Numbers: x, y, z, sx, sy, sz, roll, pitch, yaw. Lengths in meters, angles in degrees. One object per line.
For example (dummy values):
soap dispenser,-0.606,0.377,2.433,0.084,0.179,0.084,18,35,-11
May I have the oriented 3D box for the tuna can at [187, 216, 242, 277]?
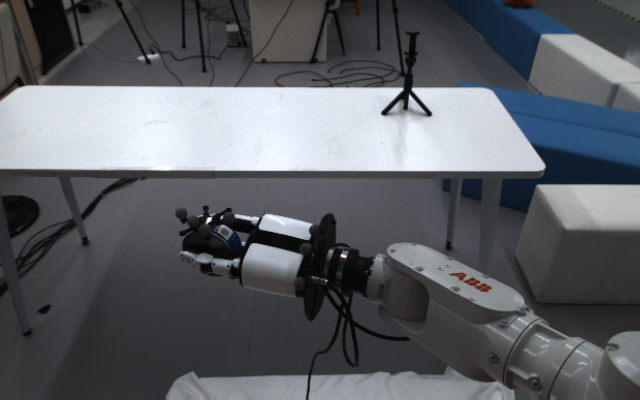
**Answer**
tuna can,-0.163,0.073,0.738,0.085,0.085,0.034,11,33,13
